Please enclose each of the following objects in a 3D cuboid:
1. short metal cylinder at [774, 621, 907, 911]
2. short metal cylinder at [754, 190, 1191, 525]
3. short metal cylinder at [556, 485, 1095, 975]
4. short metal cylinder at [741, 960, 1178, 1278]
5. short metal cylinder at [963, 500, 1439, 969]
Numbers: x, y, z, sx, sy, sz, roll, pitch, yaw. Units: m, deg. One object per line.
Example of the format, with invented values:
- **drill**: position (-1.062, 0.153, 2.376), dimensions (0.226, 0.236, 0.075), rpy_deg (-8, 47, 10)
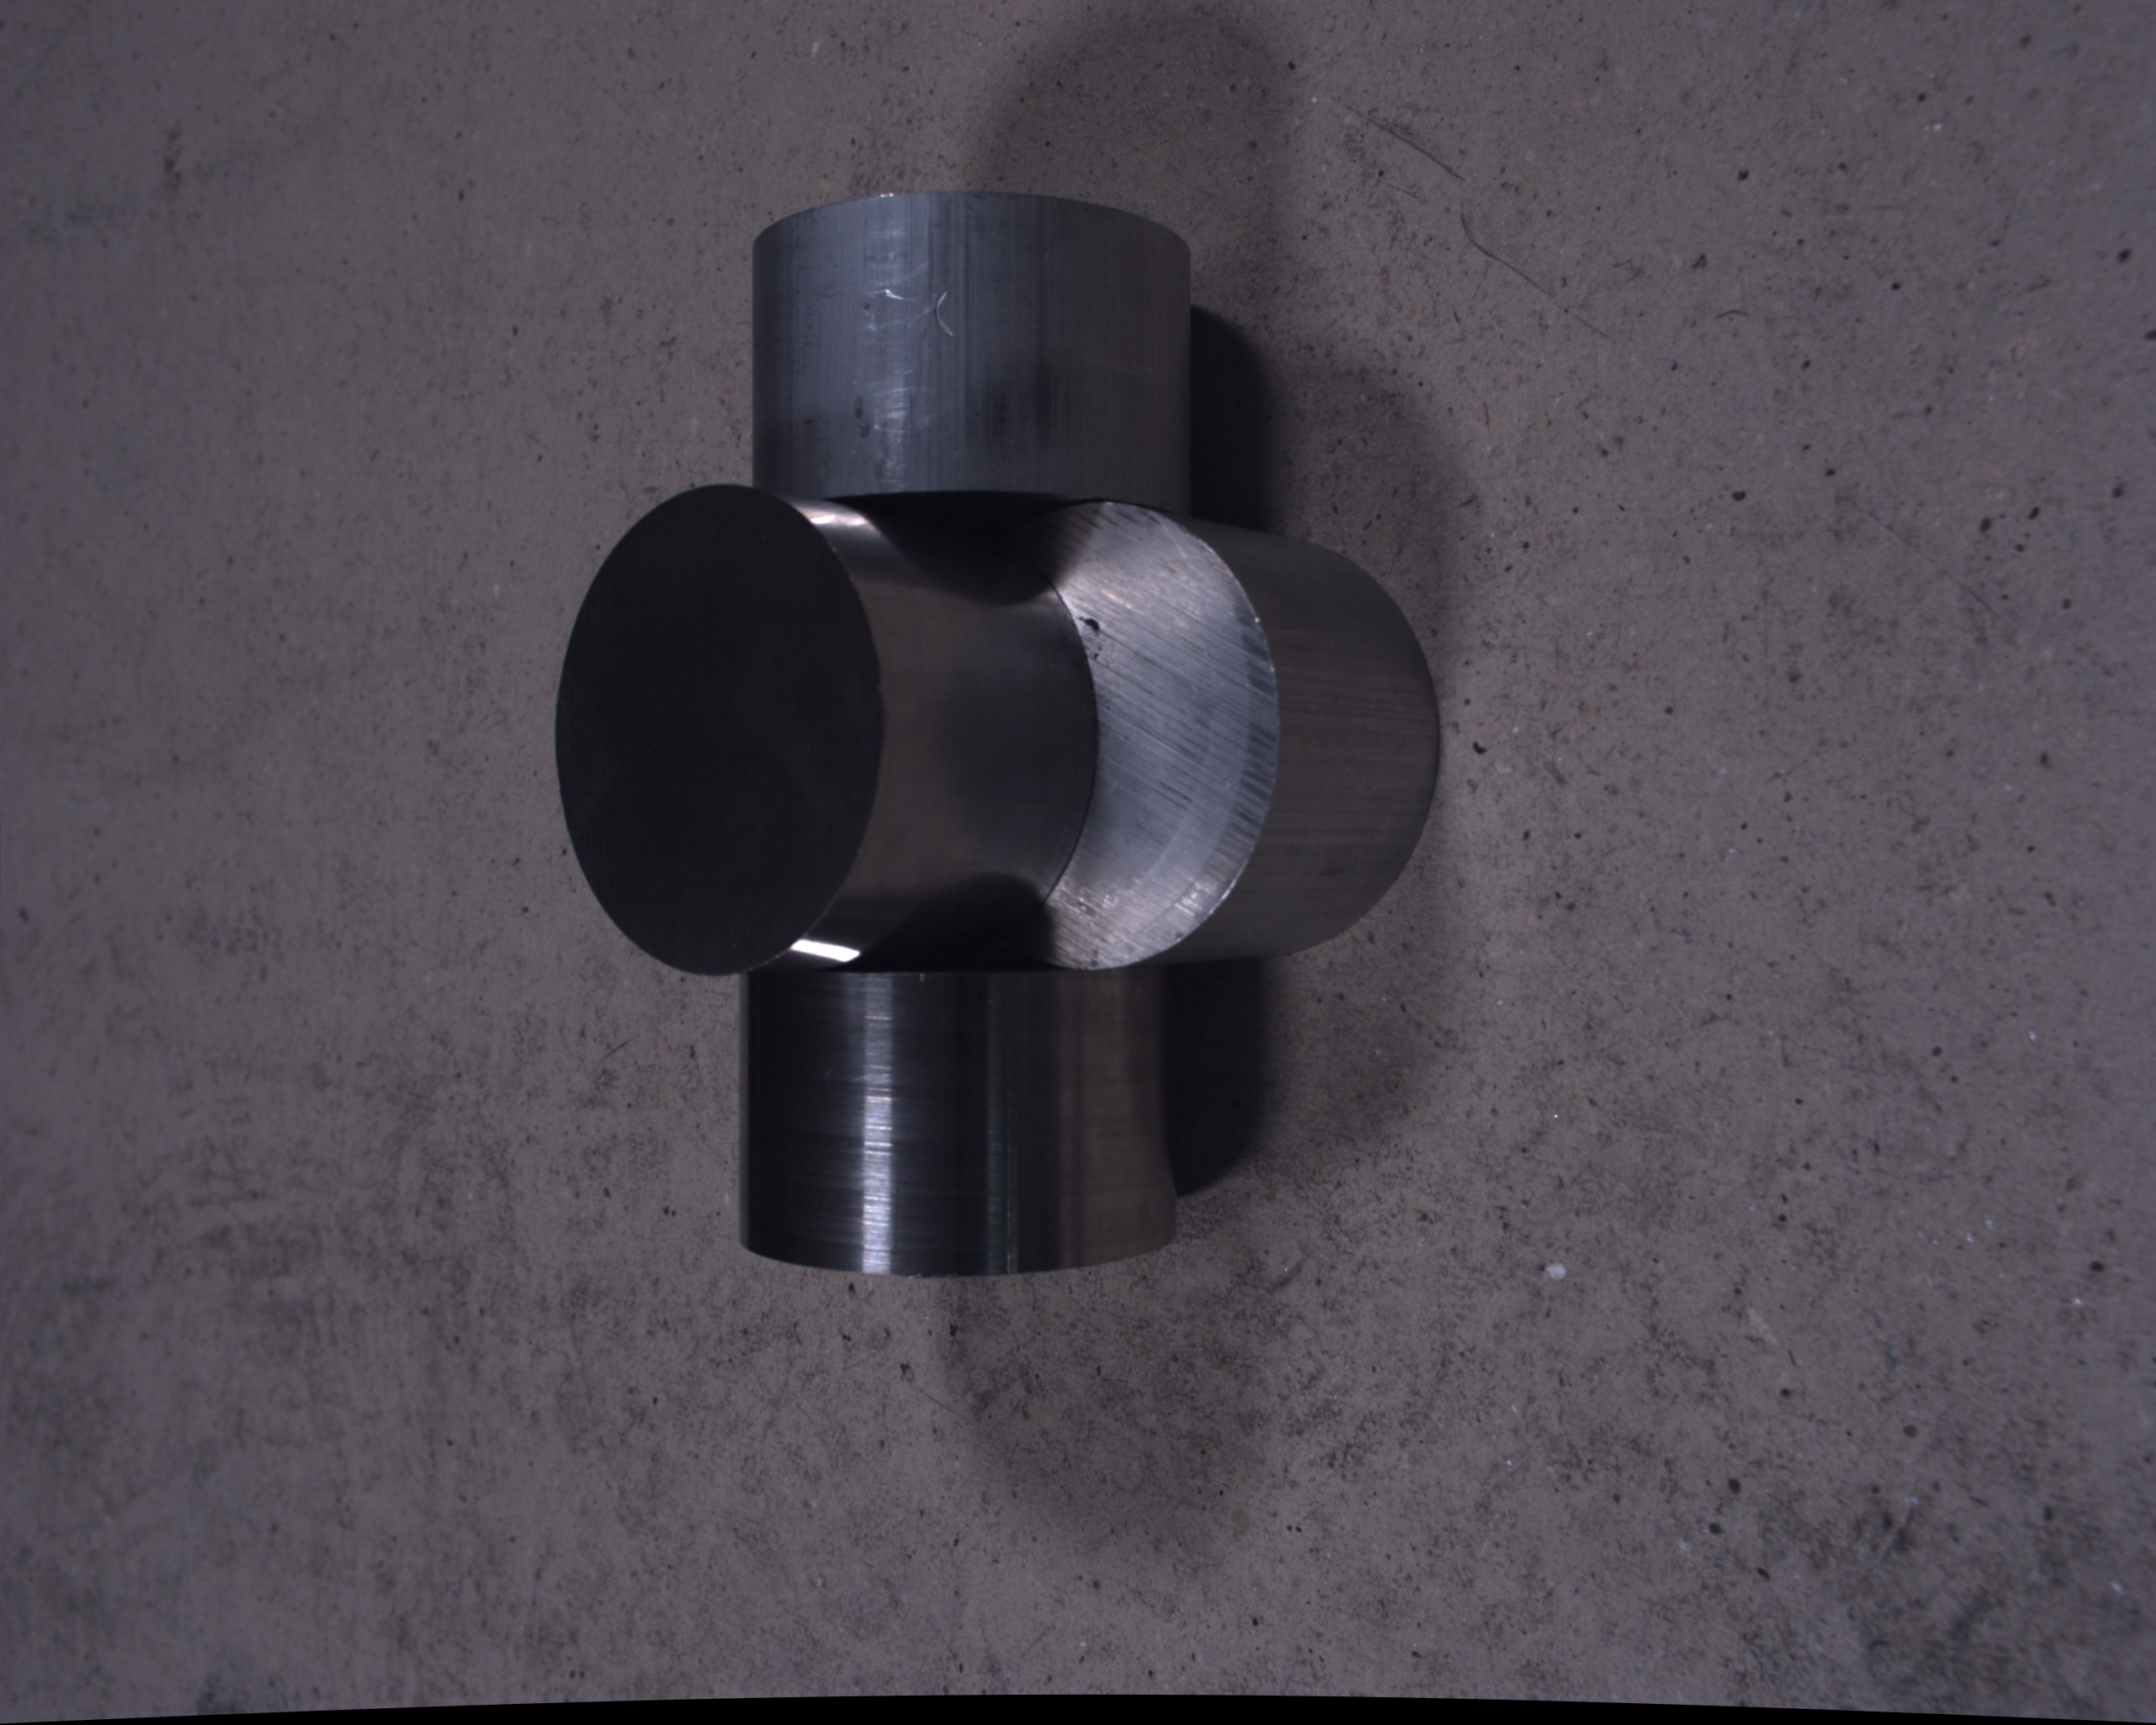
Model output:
- **short metal cylinder**: position (-0.045, -0.022, 0.425), dimensions (0.080, 0.050, 0.079), rpy_deg (0, 90, 39)
- **short metal cylinder**: position (-0.019, -0.087, 0.385), dimensions (0.080, 0.081, 0.050), rpy_deg (0, 90, 39)
- **short metal cylinder**: position (-0.044, -0.022, 0.359), dimensions (0.080, 0.050, 0.079), rpy_deg (0, 90, 39)
- **short metal cylinder**: position (-0.022, 0.044, 0.387), dimensions (0.080, 0.081, 0.050), rpy_deg (1, 91, 39)
- **short metal cylinder**: position (0.017, -0.022, 0.374), dimensions (0.080, 0.050, 0.079), rpy_deg (0, 90, 39)
